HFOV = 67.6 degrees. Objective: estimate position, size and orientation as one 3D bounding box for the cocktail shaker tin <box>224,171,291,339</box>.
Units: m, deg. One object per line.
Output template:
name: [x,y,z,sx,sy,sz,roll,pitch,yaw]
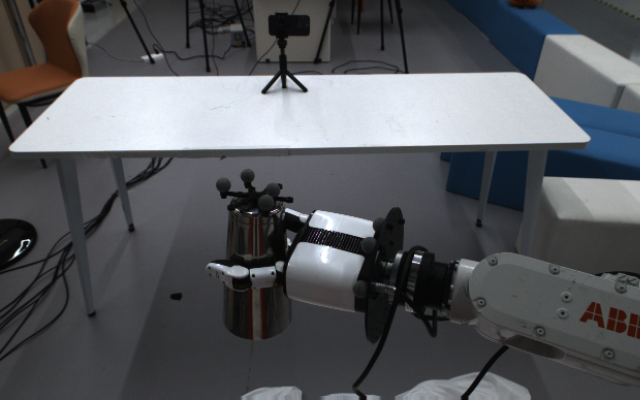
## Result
cocktail shaker tin: [-0.078,0.080,0.612,0.093,0.170,0.093,2,26,-1]
